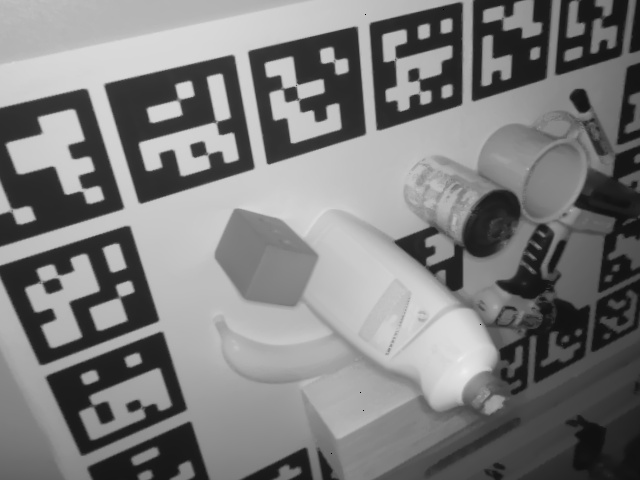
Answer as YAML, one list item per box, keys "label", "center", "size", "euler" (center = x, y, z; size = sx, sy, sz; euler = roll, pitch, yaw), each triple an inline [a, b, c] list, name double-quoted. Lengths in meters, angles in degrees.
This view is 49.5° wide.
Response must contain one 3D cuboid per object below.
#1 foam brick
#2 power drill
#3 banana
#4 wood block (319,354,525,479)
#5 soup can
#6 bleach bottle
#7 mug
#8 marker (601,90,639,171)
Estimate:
- label: "foam brick"
  center: [-0.033, 0.018, 0.613]
  size: [0.053, 0.078, 0.051]
  euler: [15, 109, -34]
- label: "power drill"
  center: [0.308, 0.032, 0.817]
  size: [0.187, 0.057, 0.185]
  euler: [10, 110, -28]
- label: "banana"
  center: [0.021, 0.125, 0.713]
  size: [0.200, 0.038, 0.074]
  euler: [-4, 102, -24]
- label: "wood block"
  center: [0.115, 0.184, 0.766]
  size: [0.209, 0.090, 0.089]
  euler: [-20, 121, -18]
- label: "soup can"
  center: [0.161, -0.025, 0.670]
  size: [0.069, 0.102, 0.067]
  euler: [-13, 124, -20]
- label: "bleach bottle"
  center: [0.080, 0.069, 0.590]
  size: [0.069, 0.249, 0.102]
  euler: [10, 111, -31]
- label: "mug"
  center: [0.253, -0.070, 0.715]
  size: [0.094, 0.081, 0.117]
  euler: [26, 97, -33]
- label: "marker"
  center: [0.343, -0.123, 0.778]
  size: [0.020, 0.019, 0.121]
  euler: [-46, 125, -2]
